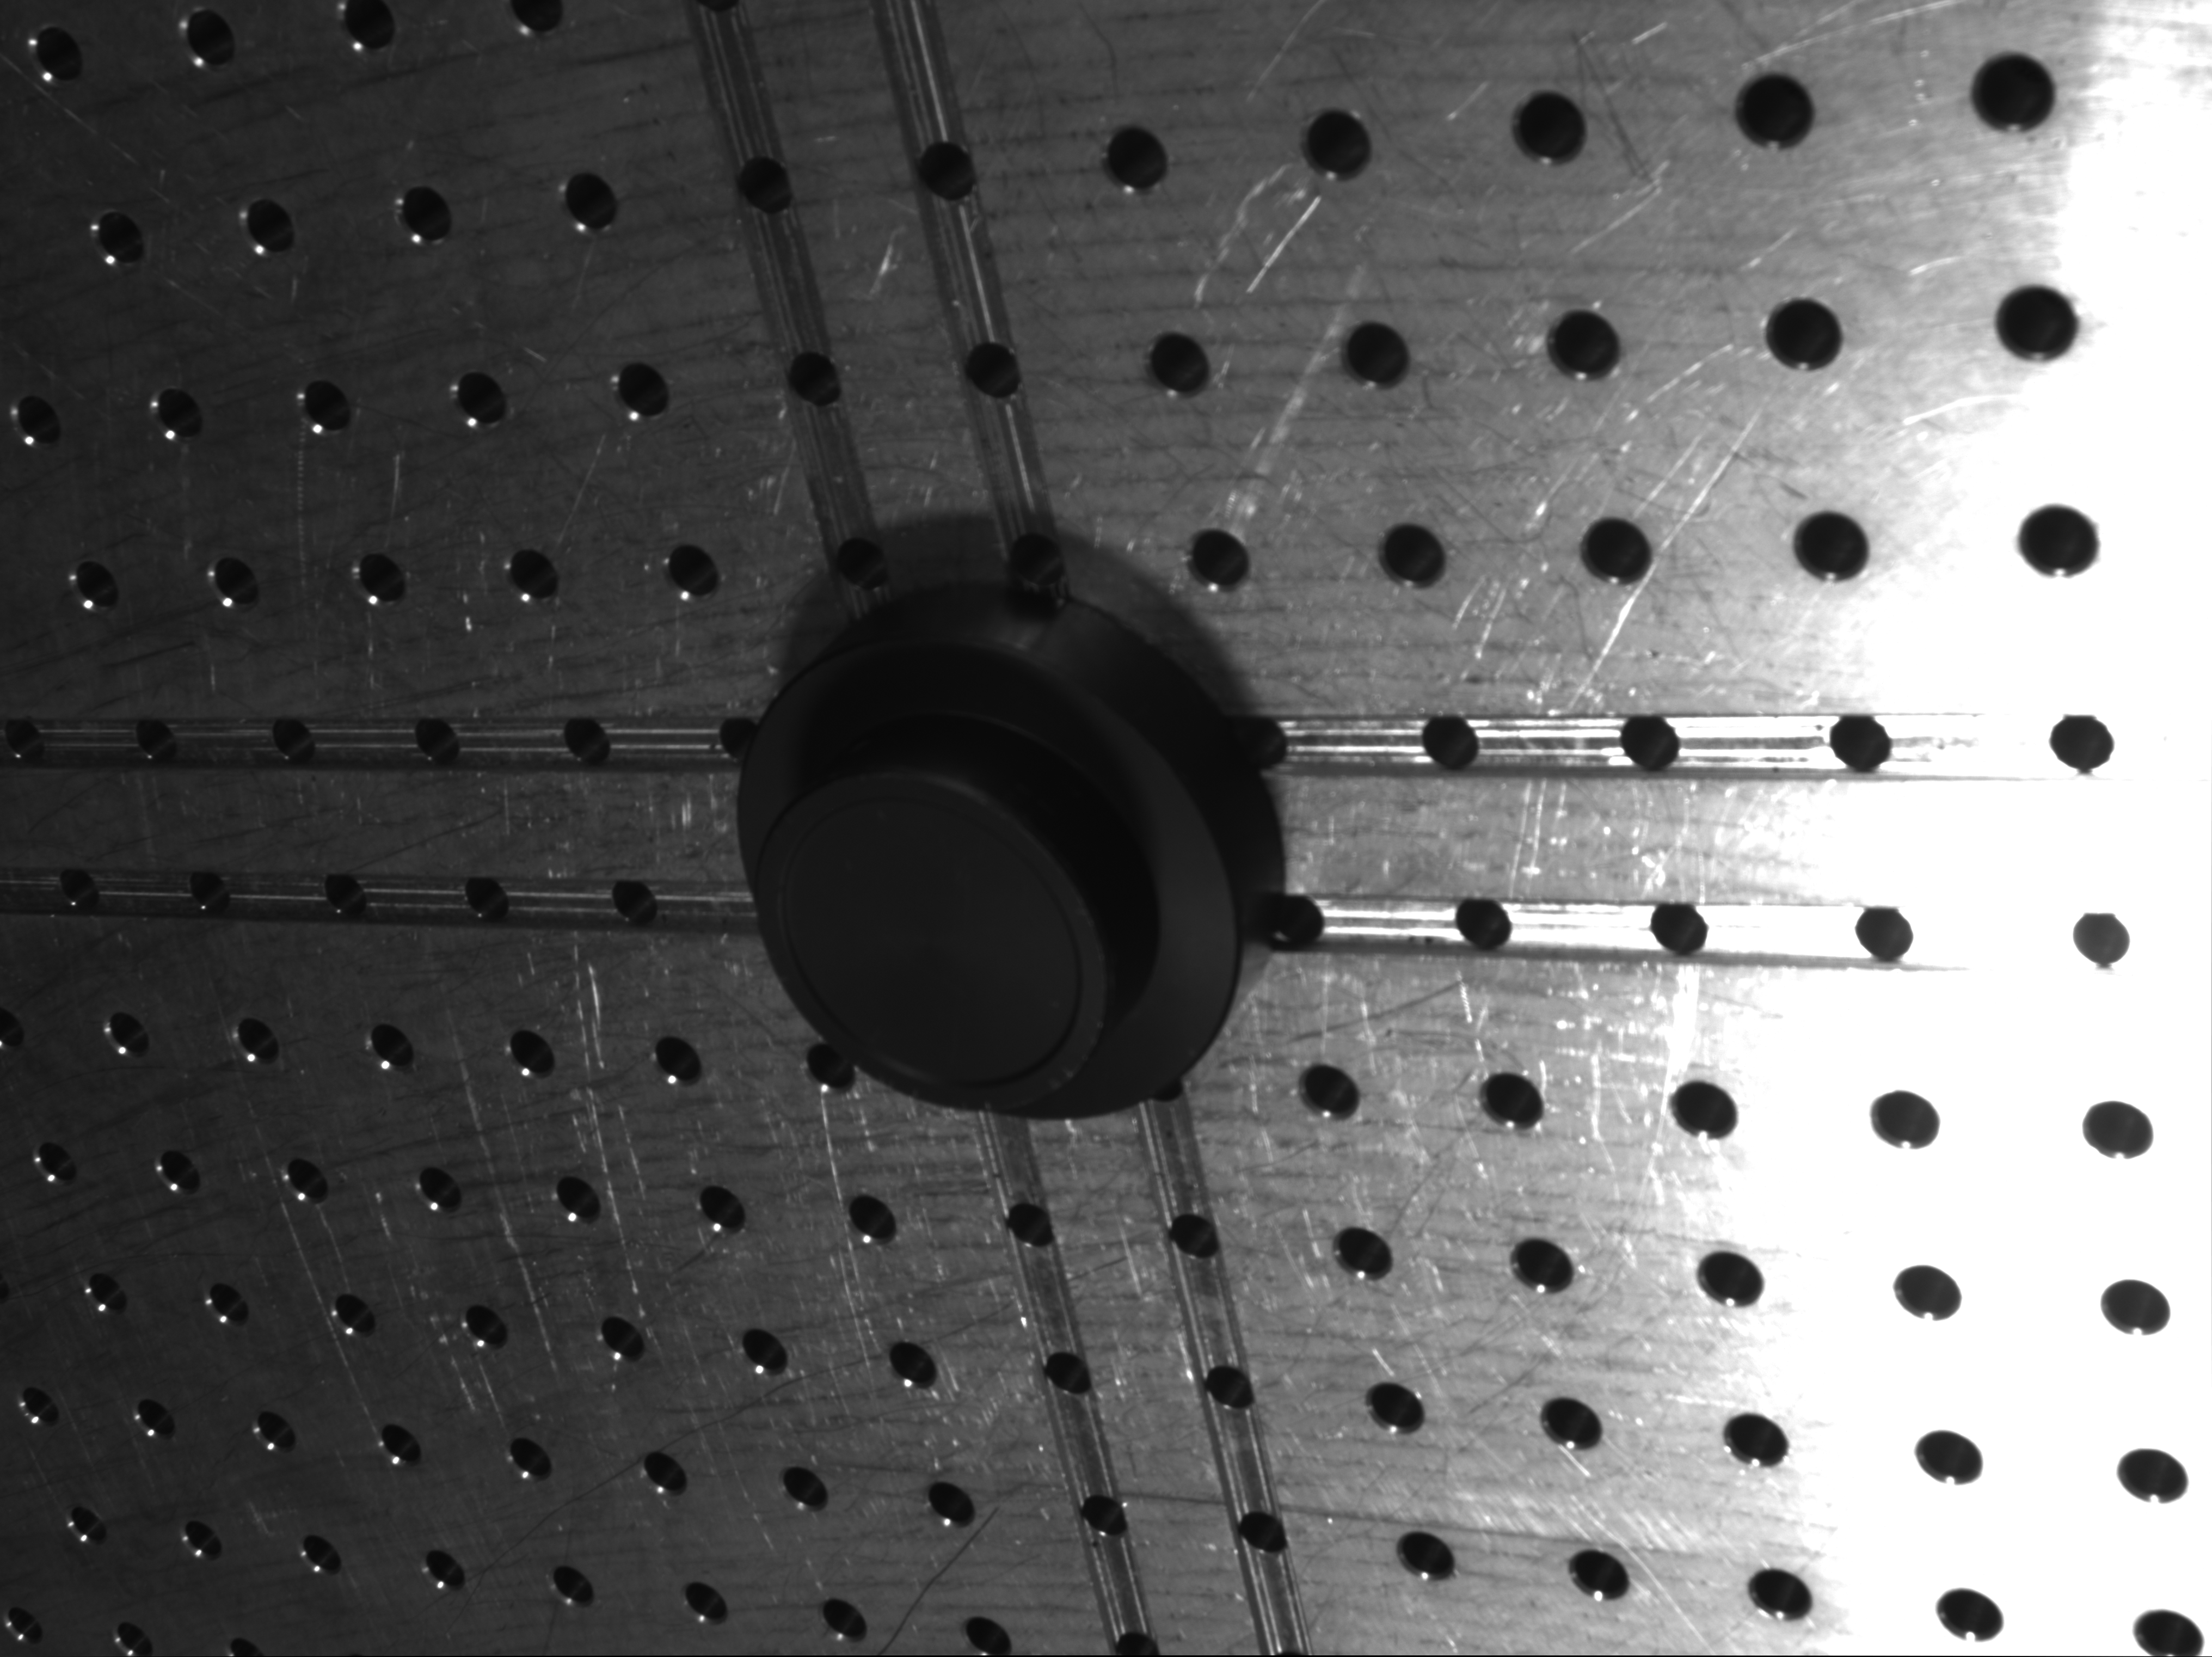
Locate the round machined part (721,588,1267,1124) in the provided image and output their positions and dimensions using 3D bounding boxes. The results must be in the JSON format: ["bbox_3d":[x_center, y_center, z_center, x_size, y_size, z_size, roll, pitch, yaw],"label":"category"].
[{"bbox_3d":[-0.025,0.011,0.642,0.098,0.042,0.098,12,123,20],"label":"round machined part"}]
